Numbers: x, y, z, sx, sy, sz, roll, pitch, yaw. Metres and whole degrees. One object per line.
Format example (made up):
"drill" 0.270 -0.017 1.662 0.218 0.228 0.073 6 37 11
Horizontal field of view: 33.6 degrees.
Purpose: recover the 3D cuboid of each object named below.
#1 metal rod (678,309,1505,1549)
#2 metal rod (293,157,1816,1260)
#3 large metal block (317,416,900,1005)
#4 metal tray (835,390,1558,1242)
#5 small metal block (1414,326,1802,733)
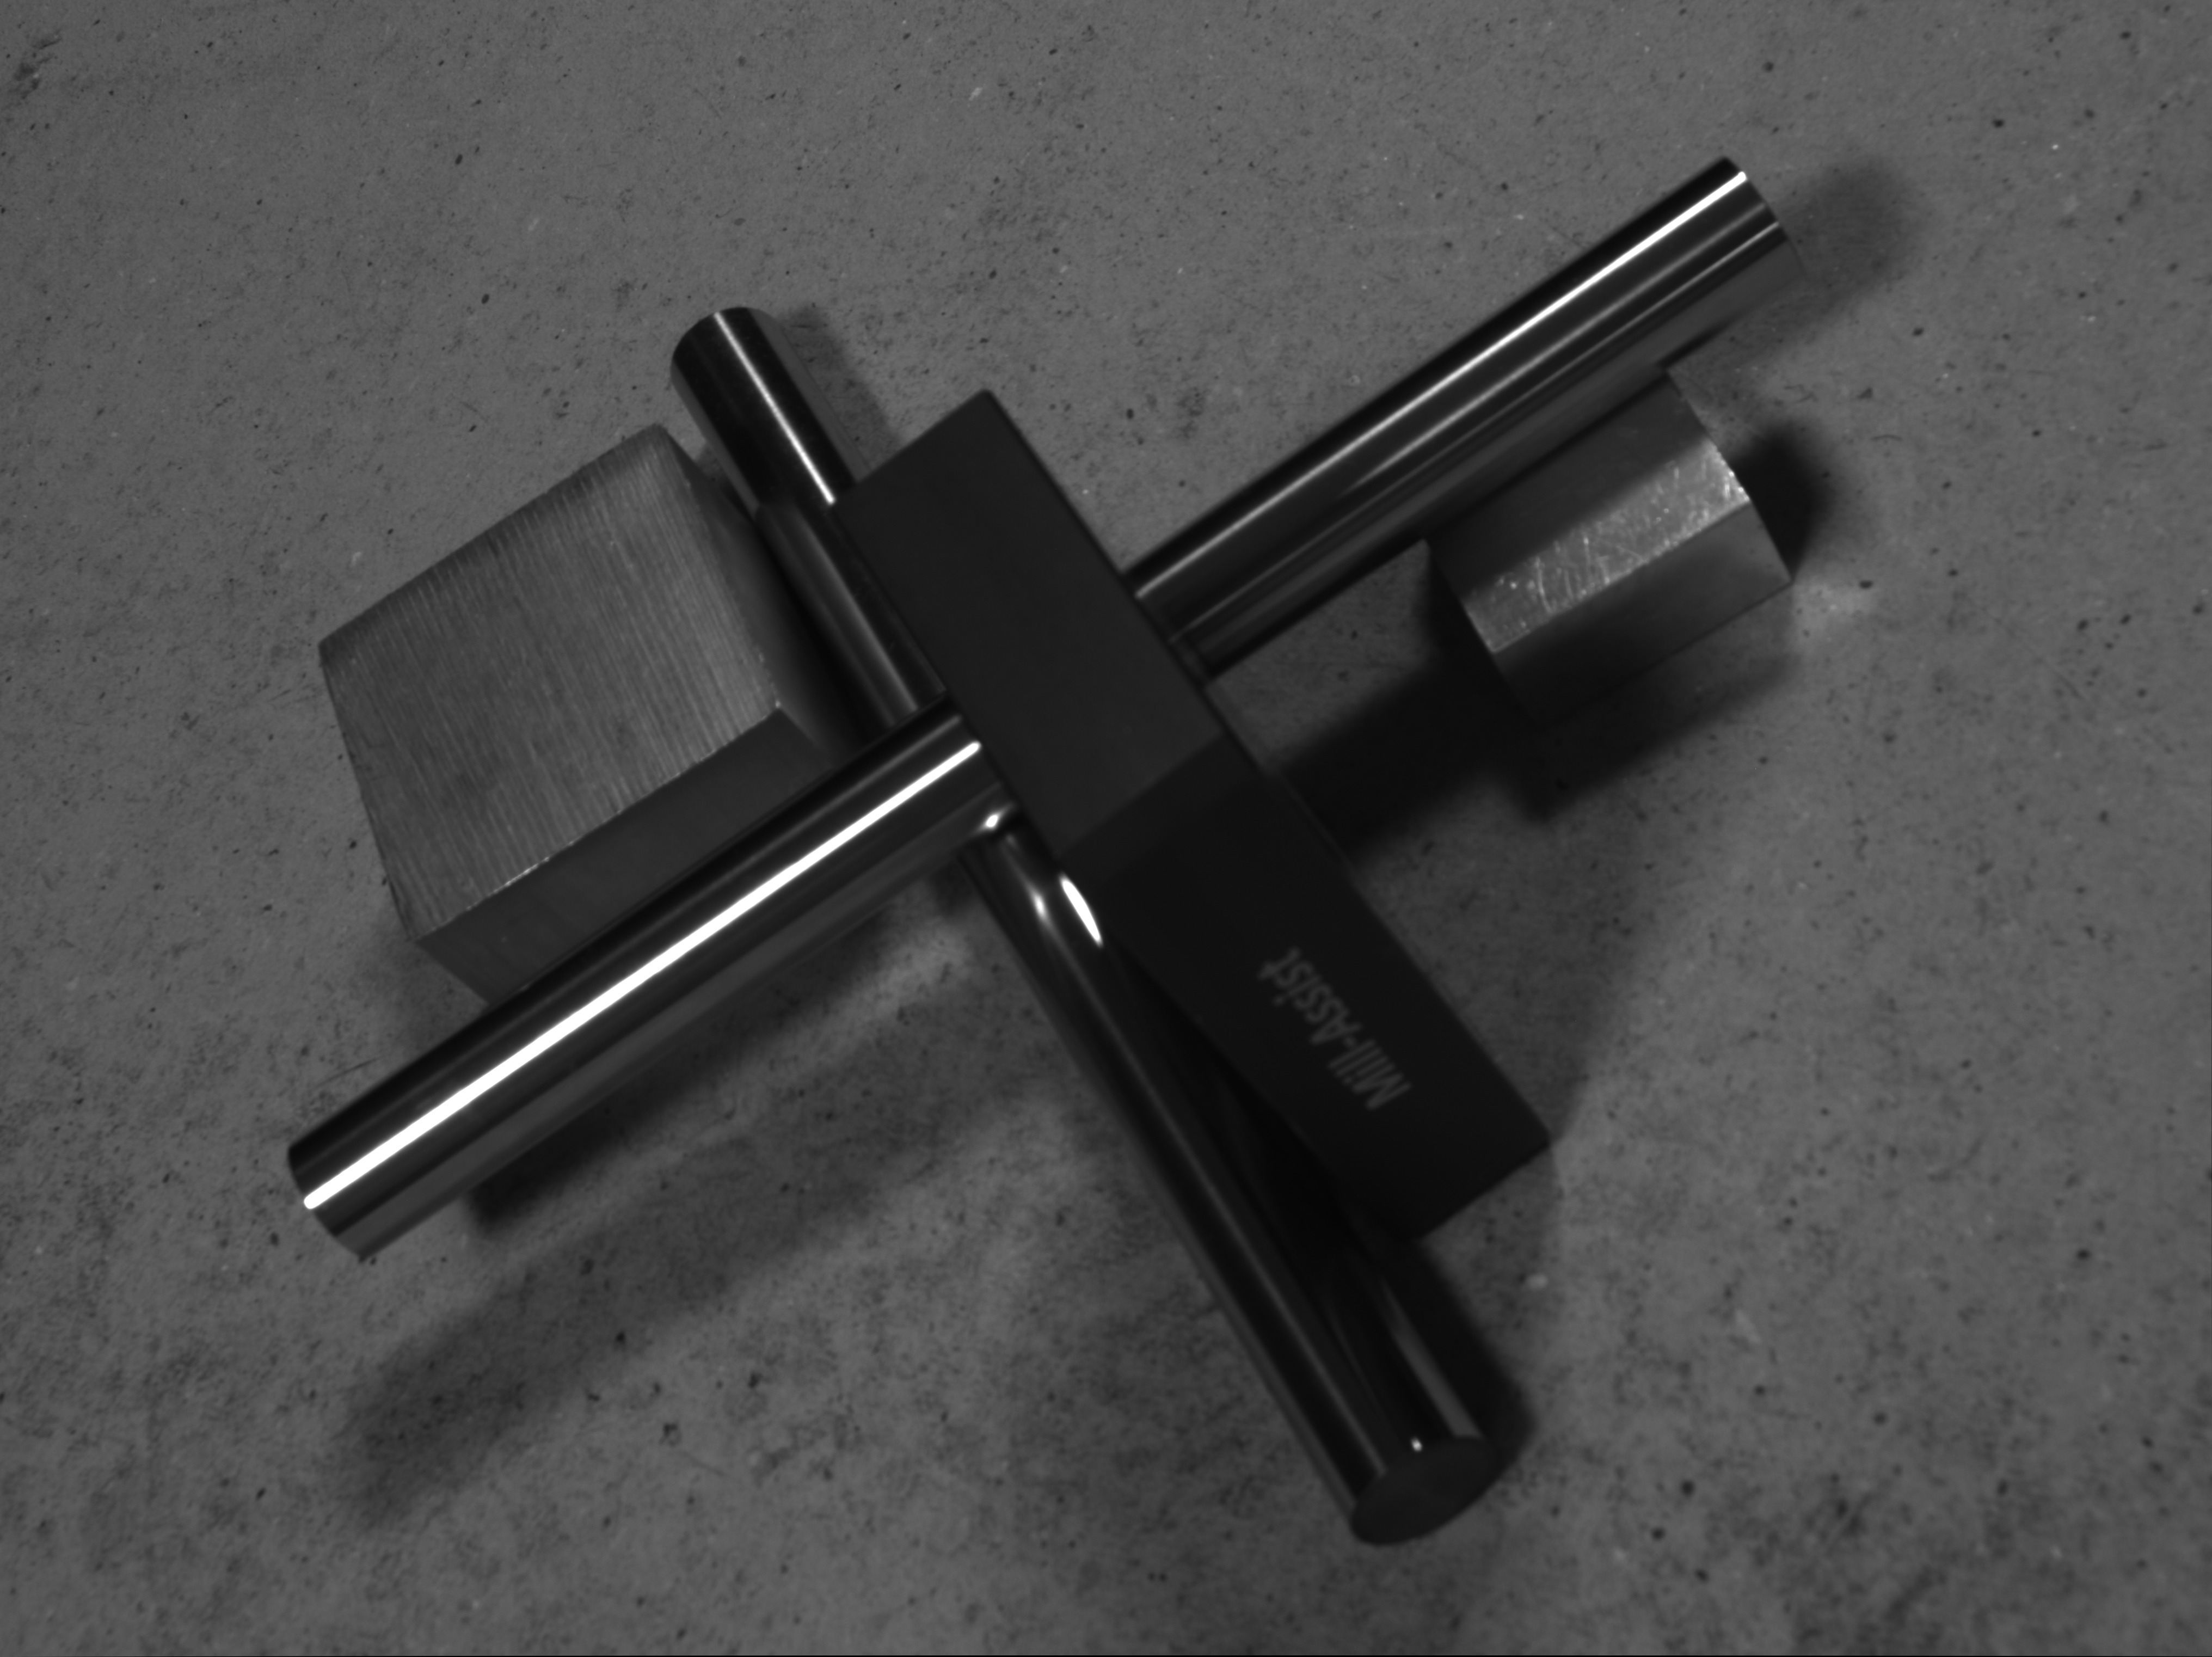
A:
"metal rod" -0.013 0.003 0.650 0.025 0.025 0.299 -36 51 4
"metal rod" -0.012 -0.018 0.629 0.300 0.025 0.025 -34 51 6
"large metal block" -0.093 -0.016 0.687 0.080 0.050 0.080 -32 51 7
"metal tray" 0.016 0.000 0.567 0.030 0.130 0.090 -37 50 4
"small metal block" 0.084 -0.053 0.632 0.050 0.025 0.050 -31 51 8
